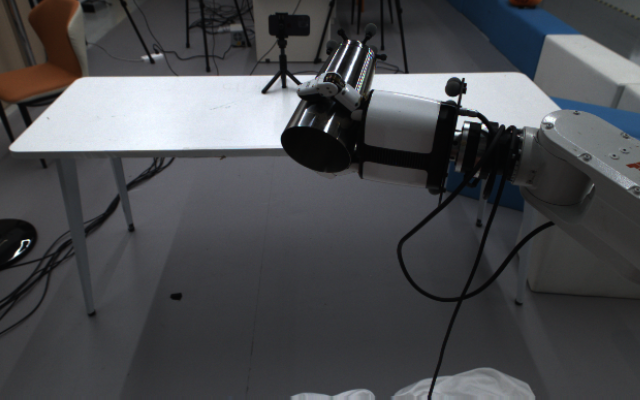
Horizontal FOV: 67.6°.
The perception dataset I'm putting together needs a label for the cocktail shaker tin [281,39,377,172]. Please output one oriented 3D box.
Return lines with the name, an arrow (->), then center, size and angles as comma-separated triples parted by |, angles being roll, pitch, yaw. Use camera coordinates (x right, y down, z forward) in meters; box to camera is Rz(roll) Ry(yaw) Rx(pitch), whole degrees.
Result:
cocktail shaker tin -> 0.020, -0.131, 0.640 | 0.093, 0.093, 0.170 | 13, 60, 16
